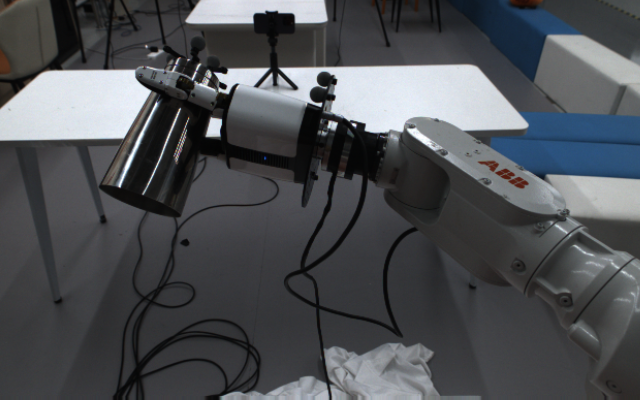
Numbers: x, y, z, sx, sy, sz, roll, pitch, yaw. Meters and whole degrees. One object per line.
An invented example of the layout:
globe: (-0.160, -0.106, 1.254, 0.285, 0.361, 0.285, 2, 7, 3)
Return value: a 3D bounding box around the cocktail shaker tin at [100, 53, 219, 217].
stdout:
cocktail shaker tin: (-0.176, -0.077, 0.563, 0.093, 0.093, 0.170, 12, 73, 14)
